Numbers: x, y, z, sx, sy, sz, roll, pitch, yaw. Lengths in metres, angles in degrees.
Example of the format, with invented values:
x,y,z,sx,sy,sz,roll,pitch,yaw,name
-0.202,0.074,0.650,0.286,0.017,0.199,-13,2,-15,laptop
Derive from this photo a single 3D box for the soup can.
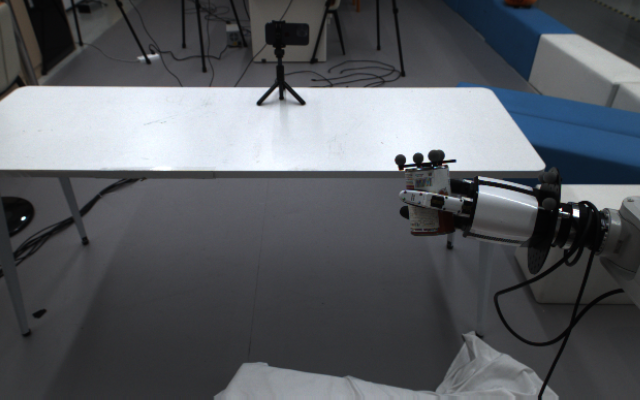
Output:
x,y,z,sx,sy,sz,roll,pitch,yaw,name
0.169,0.001,0.742,0.067,0.101,0.067,-6,3,0,soup can
